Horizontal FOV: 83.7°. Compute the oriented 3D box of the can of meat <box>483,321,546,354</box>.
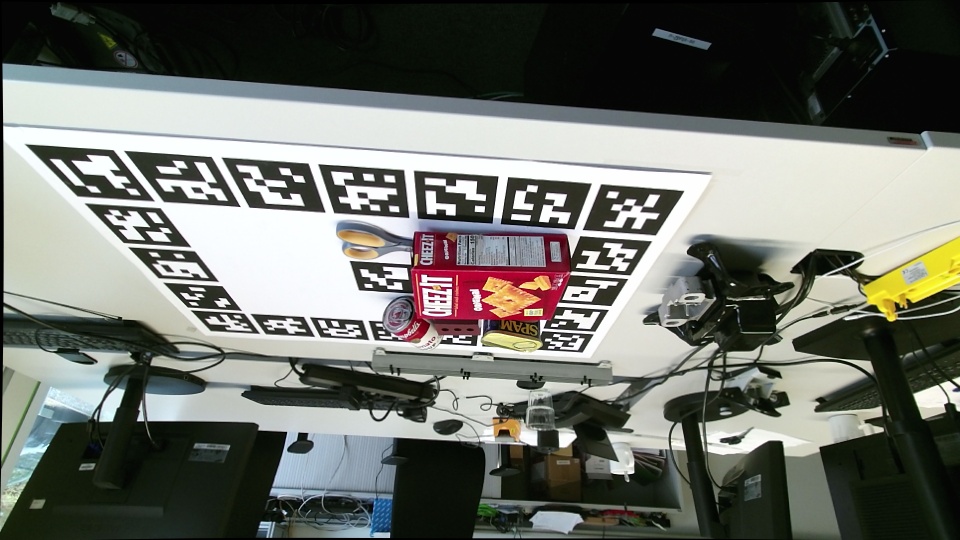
[{"bbox_3d":[0.058,0.090,0.909,0.102,0.083,0.058,11,146,-13],"label":"can of meat"}]

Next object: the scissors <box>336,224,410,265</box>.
[{"bbox_3d":[-0.100,-0.035,0.770,0.203,0.016,0.088,0,147,2],"label":"scissors"}]

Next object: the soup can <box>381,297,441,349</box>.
[{"bbox_3d":[-0.122,0.097,0.964,0.068,0.067,0.102,-19,147,29],"label":"soup can"}]

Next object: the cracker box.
[{"bbox_3d":[0.013,0.016,0.785,0.214,0.071,0.164,-3,148,1],"label":"cracker box"}]

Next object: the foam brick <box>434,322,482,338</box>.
[{"bbox_3d":[-0.038,0.086,0.944,0.078,0.051,0.053,-2,146,7],"label":"foam brick"}]
